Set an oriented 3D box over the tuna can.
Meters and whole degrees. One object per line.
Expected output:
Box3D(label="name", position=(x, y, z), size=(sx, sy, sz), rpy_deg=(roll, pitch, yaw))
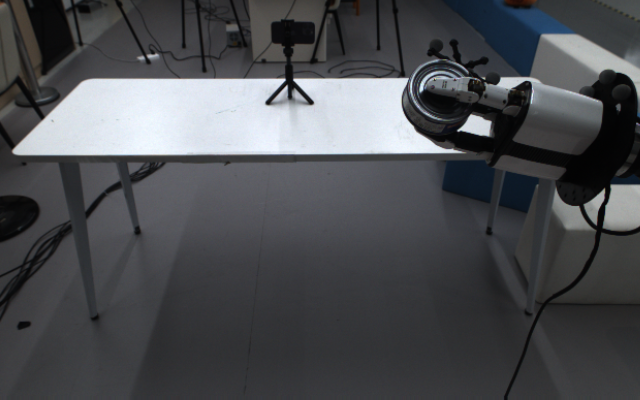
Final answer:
Box3D(label="tuna can", position=(0.145, -0.125, 0.580), size=(0.085, 0.034, 0.085), rpy_deg=(0, 74, 0))
